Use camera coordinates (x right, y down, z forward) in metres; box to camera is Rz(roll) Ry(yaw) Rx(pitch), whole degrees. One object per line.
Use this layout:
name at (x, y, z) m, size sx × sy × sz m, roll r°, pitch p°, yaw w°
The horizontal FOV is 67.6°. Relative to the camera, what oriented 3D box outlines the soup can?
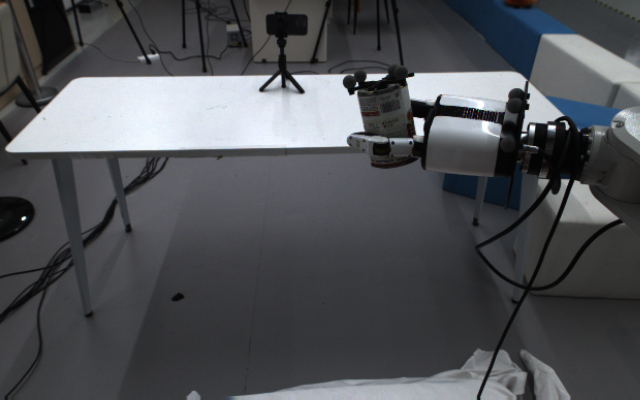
soup can at (0.093, -0.101, 0.640) m, size 0.067 × 0.101 × 0.067 m, roll -13°, pitch 20°, yaw 5°
